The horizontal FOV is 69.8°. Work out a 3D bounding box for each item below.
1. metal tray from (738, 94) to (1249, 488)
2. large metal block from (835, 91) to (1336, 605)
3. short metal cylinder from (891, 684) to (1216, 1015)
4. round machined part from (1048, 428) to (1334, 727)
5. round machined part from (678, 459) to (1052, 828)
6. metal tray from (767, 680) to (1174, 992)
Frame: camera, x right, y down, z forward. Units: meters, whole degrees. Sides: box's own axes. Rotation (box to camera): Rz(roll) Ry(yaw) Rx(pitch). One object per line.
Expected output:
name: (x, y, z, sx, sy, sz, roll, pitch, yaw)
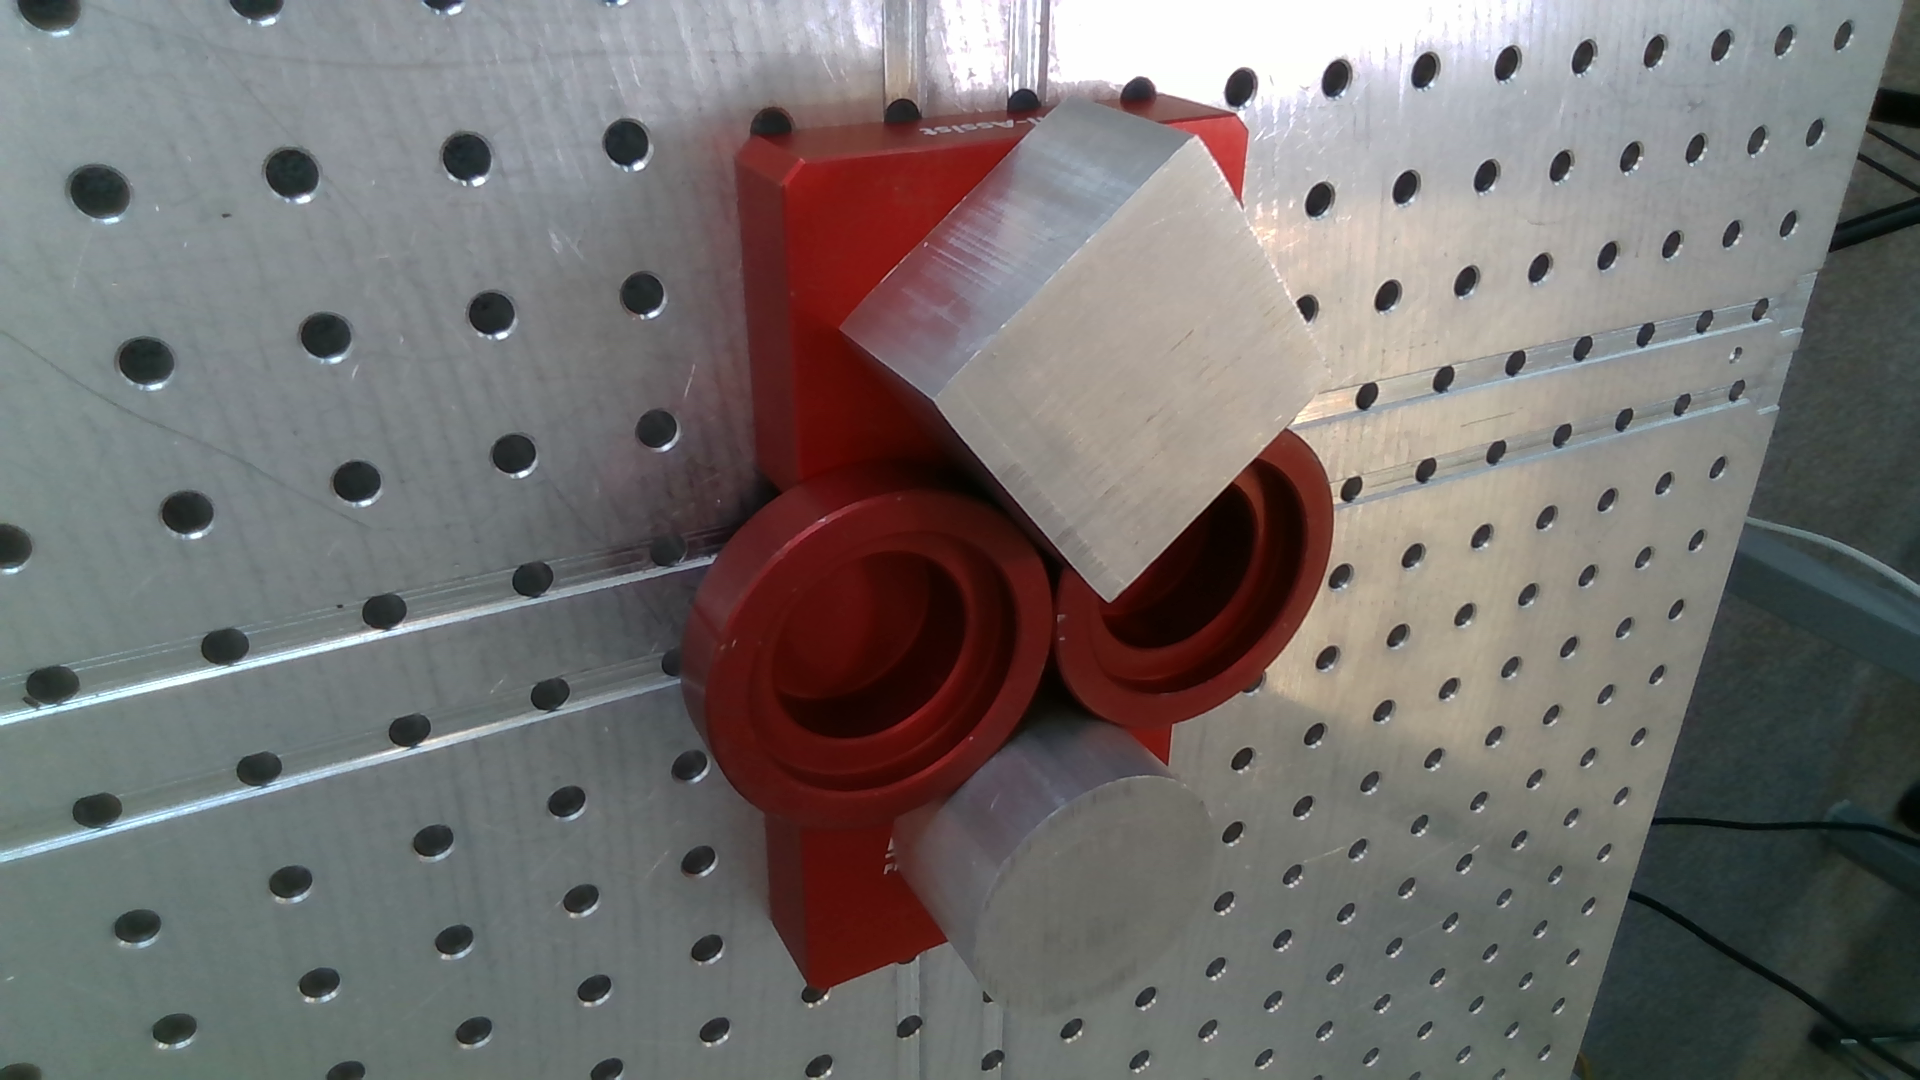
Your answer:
metal tray: (0.011, -0.063, 0.361, 0.130, 0.030, 0.090, -14, 122, -25)
large metal block: (0.032, -0.046, 0.333, 0.080, 0.050, 0.080, -45, 129, -3)
short metal cylinder: (0.027, 0.089, 0.402, 0.080, 0.050, 0.080, -14, 122, -25)
round machined part: (0.059, 0.003, 0.408, 0.098, 0.042, 0.098, -14, 122, -25)
round machined part: (-0.028, 0.024, 0.366, 0.098, 0.042, 0.098, -14, 122, -25)
metal tray: (0.005, 0.079, 0.433, 0.130, 0.030, 0.090, -14, 121, -25)
